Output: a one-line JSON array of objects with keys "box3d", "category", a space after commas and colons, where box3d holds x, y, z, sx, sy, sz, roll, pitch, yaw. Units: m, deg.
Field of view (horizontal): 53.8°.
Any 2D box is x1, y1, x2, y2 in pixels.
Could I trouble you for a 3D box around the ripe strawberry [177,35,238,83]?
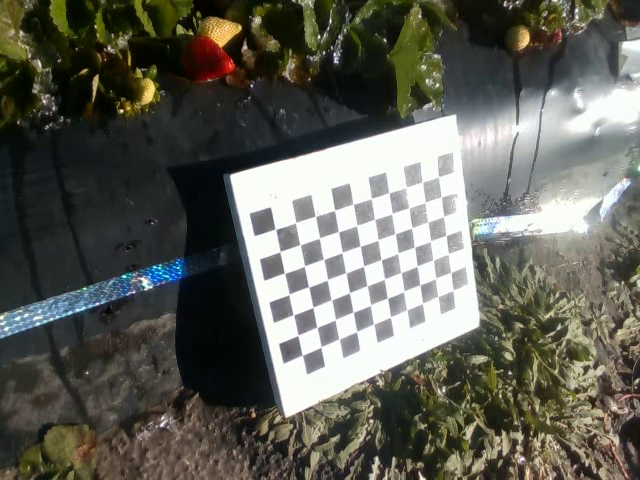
[{"box3d": [-0.091, -0.150, 0.523, 0.053, 0.040, 0.042, 24, -18, 32], "category": "ripe strawberry"}]
